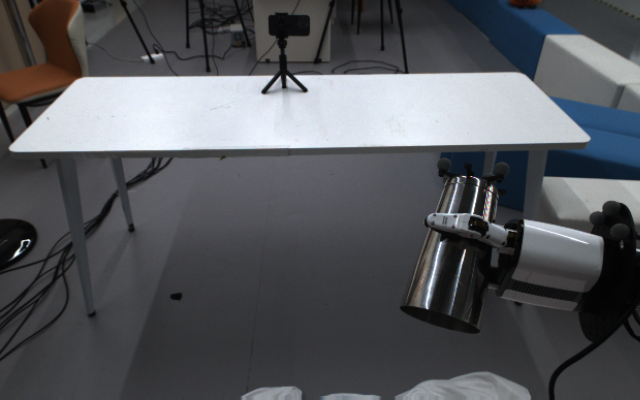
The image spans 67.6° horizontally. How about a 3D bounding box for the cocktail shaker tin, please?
[{"bbox_3d":[0.160,0.059,0.575,0.093,0.093,0.170,14,69,17],"label":"cocktail shaker tin"}]
